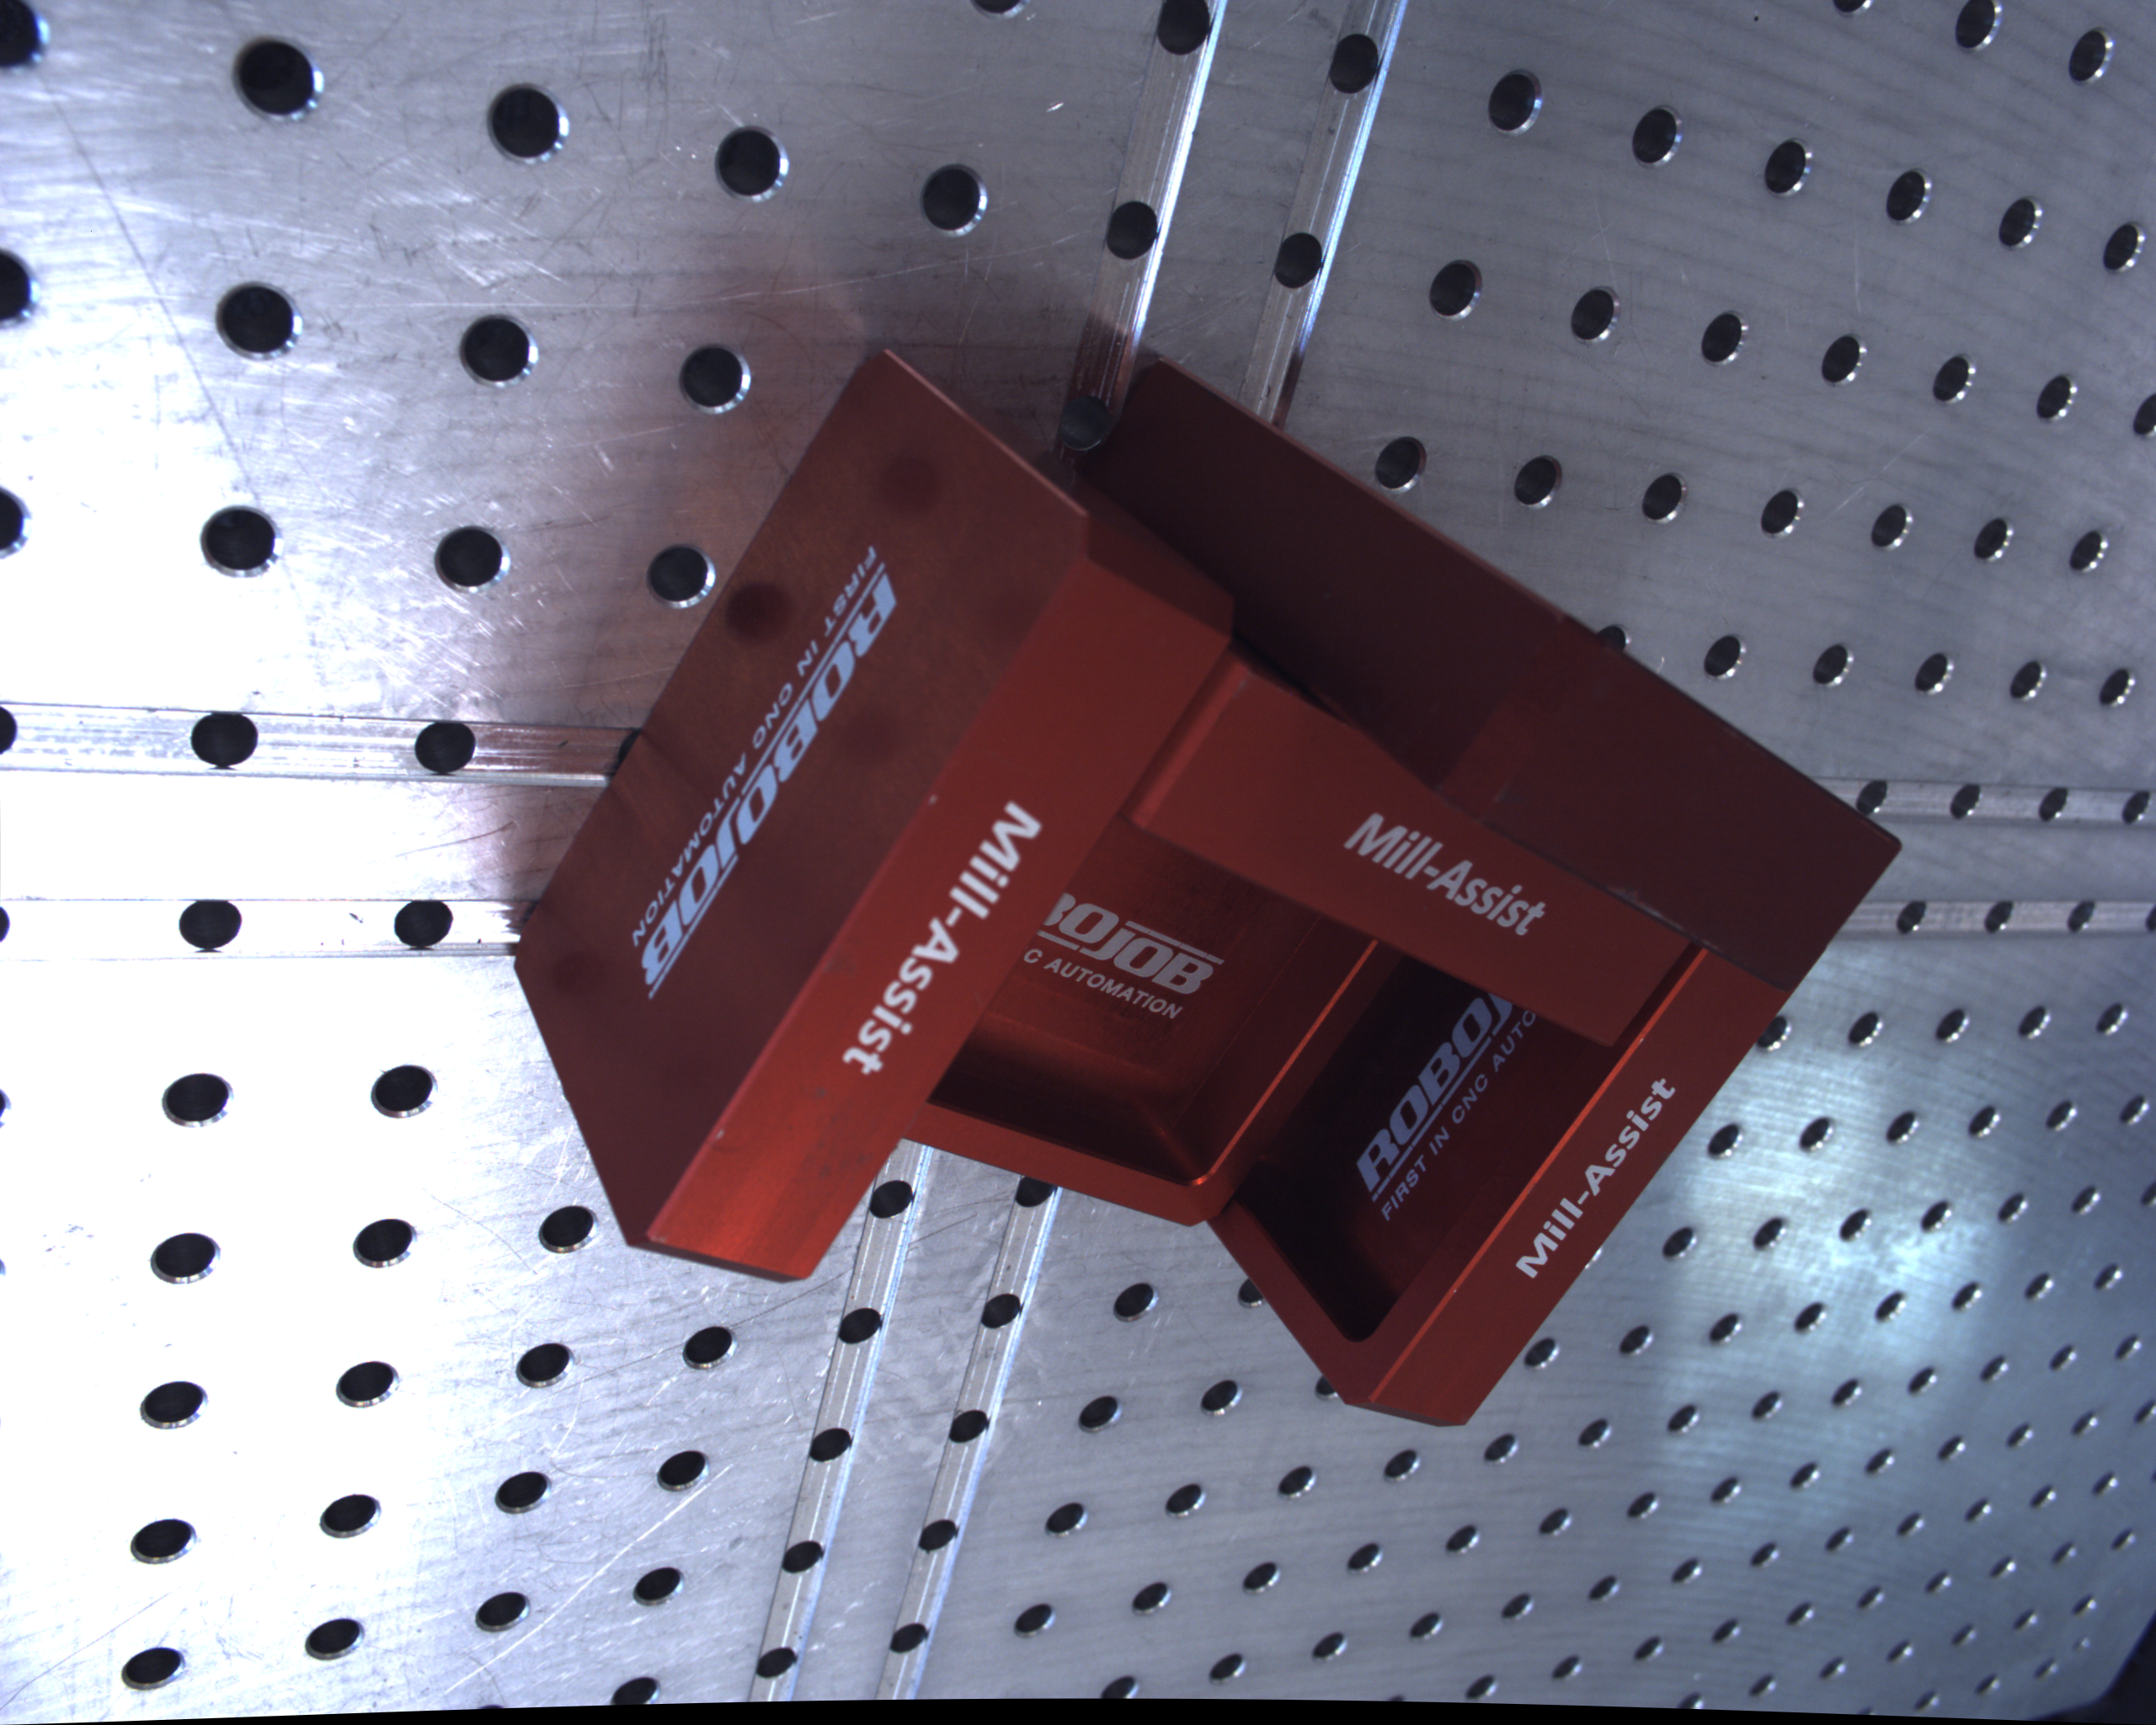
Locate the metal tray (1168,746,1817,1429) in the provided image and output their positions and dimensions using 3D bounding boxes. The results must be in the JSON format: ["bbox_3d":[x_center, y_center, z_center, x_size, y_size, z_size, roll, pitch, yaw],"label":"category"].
[{"bbox_3d":[0.081,0.040,0.436,0.030,0.090,0.129,24,105,-37],"label":"metal tray"}]

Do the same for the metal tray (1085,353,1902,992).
[{"bbox_3d":[0.065,-0.035,0.355,0.090,0.130,0.030,24,105,-37],"label":"metal tray"}]

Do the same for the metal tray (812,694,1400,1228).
[{"bbox_3d":[-0.002,0.017,0.416,0.131,0.030,0.090,24,106,-37],"label":"metal tray"}]

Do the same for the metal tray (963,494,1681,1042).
[{"bbox_3d":[0.043,-0.019,0.379,0.131,0.090,0.030,23,106,-37],"label":"metal tray"}]

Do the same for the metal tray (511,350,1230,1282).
[{"bbox_3d":[-0.040,-0.009,0.340,0.030,0.090,0.129,24,105,-37],"label":"metal tray"}]
